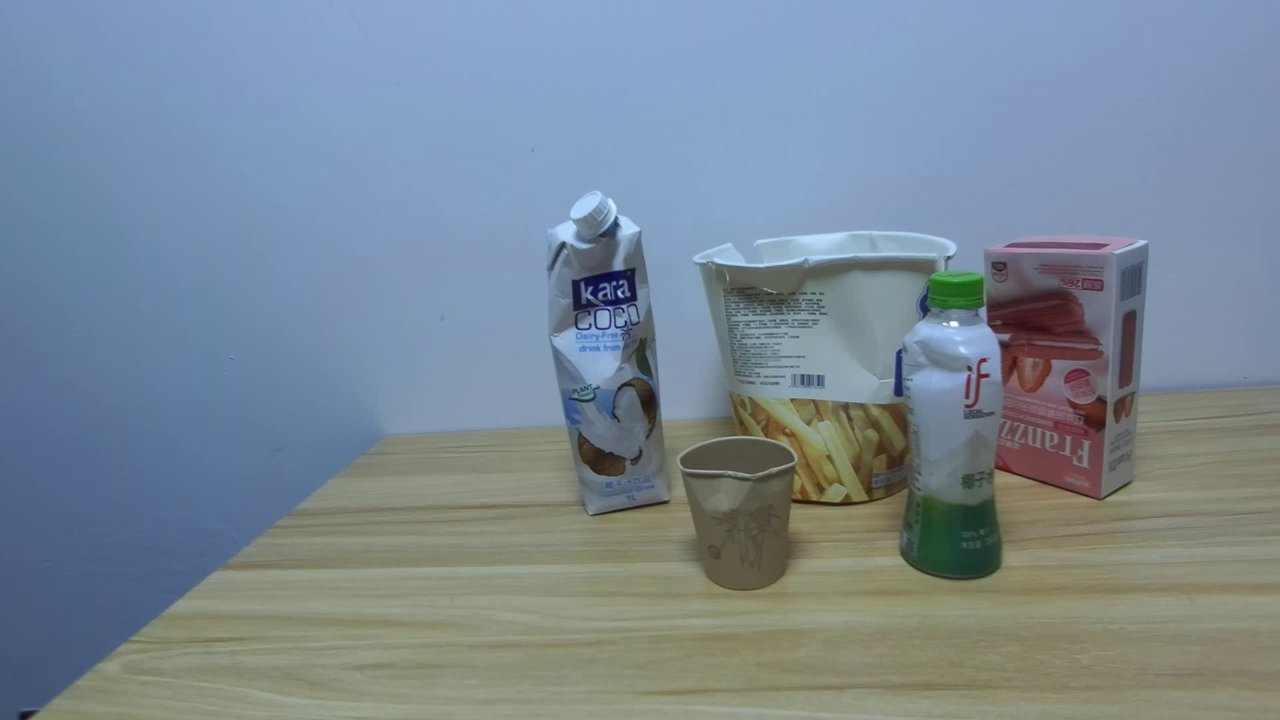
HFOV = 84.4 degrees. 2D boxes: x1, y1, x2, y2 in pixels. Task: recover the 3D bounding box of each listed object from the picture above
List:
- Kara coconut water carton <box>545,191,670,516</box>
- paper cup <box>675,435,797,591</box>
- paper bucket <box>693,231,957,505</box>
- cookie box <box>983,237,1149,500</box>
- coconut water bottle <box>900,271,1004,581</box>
[{"bbox_3d":[-0.028,-0.005,0.573,0.083,0.255,0.078,-5,17,6],"label":"Kara coconut water carton"},{"bbox_3d":[0.066,0.101,0.468,0.074,0.081,0.068,-13,15,-27],"label":"paper cup"},{"bbox_3d":[0.151,-0.001,0.593,0.202,0.197,0.146,-1,16,17],"label":"paper bucket"},{"bbox_3d":[0.318,0.002,0.546,0.049,0.187,0.104,-15,17,-31],"label":"cookie box"},{"bbox_3d":[0.197,0.041,0.444,0.069,0.186,0.069,-4,15,1],"label":"coconut water bottle"}]
